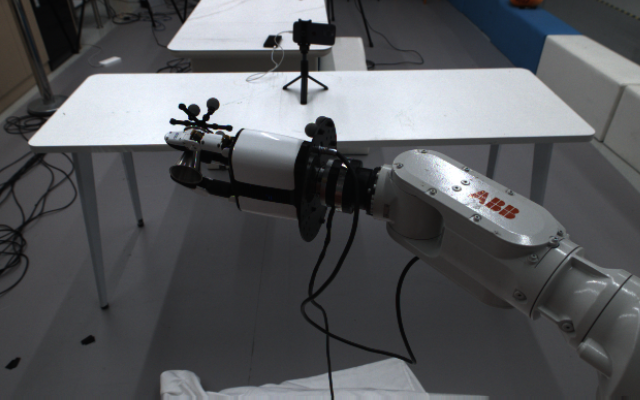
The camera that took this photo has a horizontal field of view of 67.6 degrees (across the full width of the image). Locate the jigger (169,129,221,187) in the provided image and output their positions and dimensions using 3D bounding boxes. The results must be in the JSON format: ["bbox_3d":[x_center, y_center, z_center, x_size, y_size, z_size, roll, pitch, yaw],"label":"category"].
[{"bbox_3d":[-0.177,-0.062,0.657,0.043,0.043,0.071,6,61,6],"label":"jigger"}]
